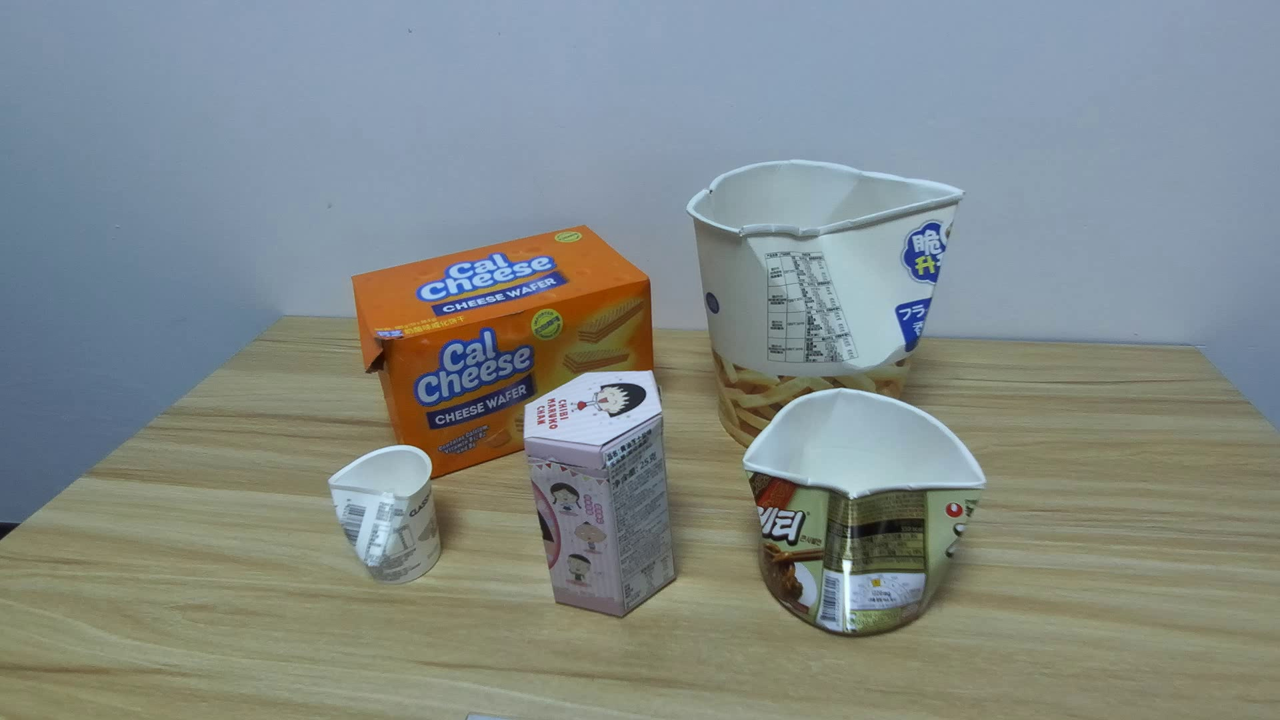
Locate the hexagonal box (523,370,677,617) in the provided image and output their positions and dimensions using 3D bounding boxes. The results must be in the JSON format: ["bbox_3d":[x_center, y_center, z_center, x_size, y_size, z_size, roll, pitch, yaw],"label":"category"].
[{"bbox_3d":[-0.021,0.081,0.440,0.085,0.135,0.092,-7,32,-5],"label":"hexagonal box"}]

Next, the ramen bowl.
[{"bbox_3d":[0.138,0.092,0.444,0.137,0.098,0.137,-1,31,1],"label":"ramen bowl"}]

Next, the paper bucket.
[{"bbox_3d":[0.129,-0.034,0.558,0.168,0.202,0.163,22,41,39],"label":"paper bucket"}]

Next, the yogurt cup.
[{"bbox_3d":[-0.166,0.106,0.479,0.067,0.070,0.067,-4,30,3],"label":"yogurt cup"}]

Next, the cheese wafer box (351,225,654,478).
[{"bbox_3d":[-0.116,-0.017,0.614,0.228,0.137,0.149,-16,34,-20],"label":"cheese wafer box"}]
